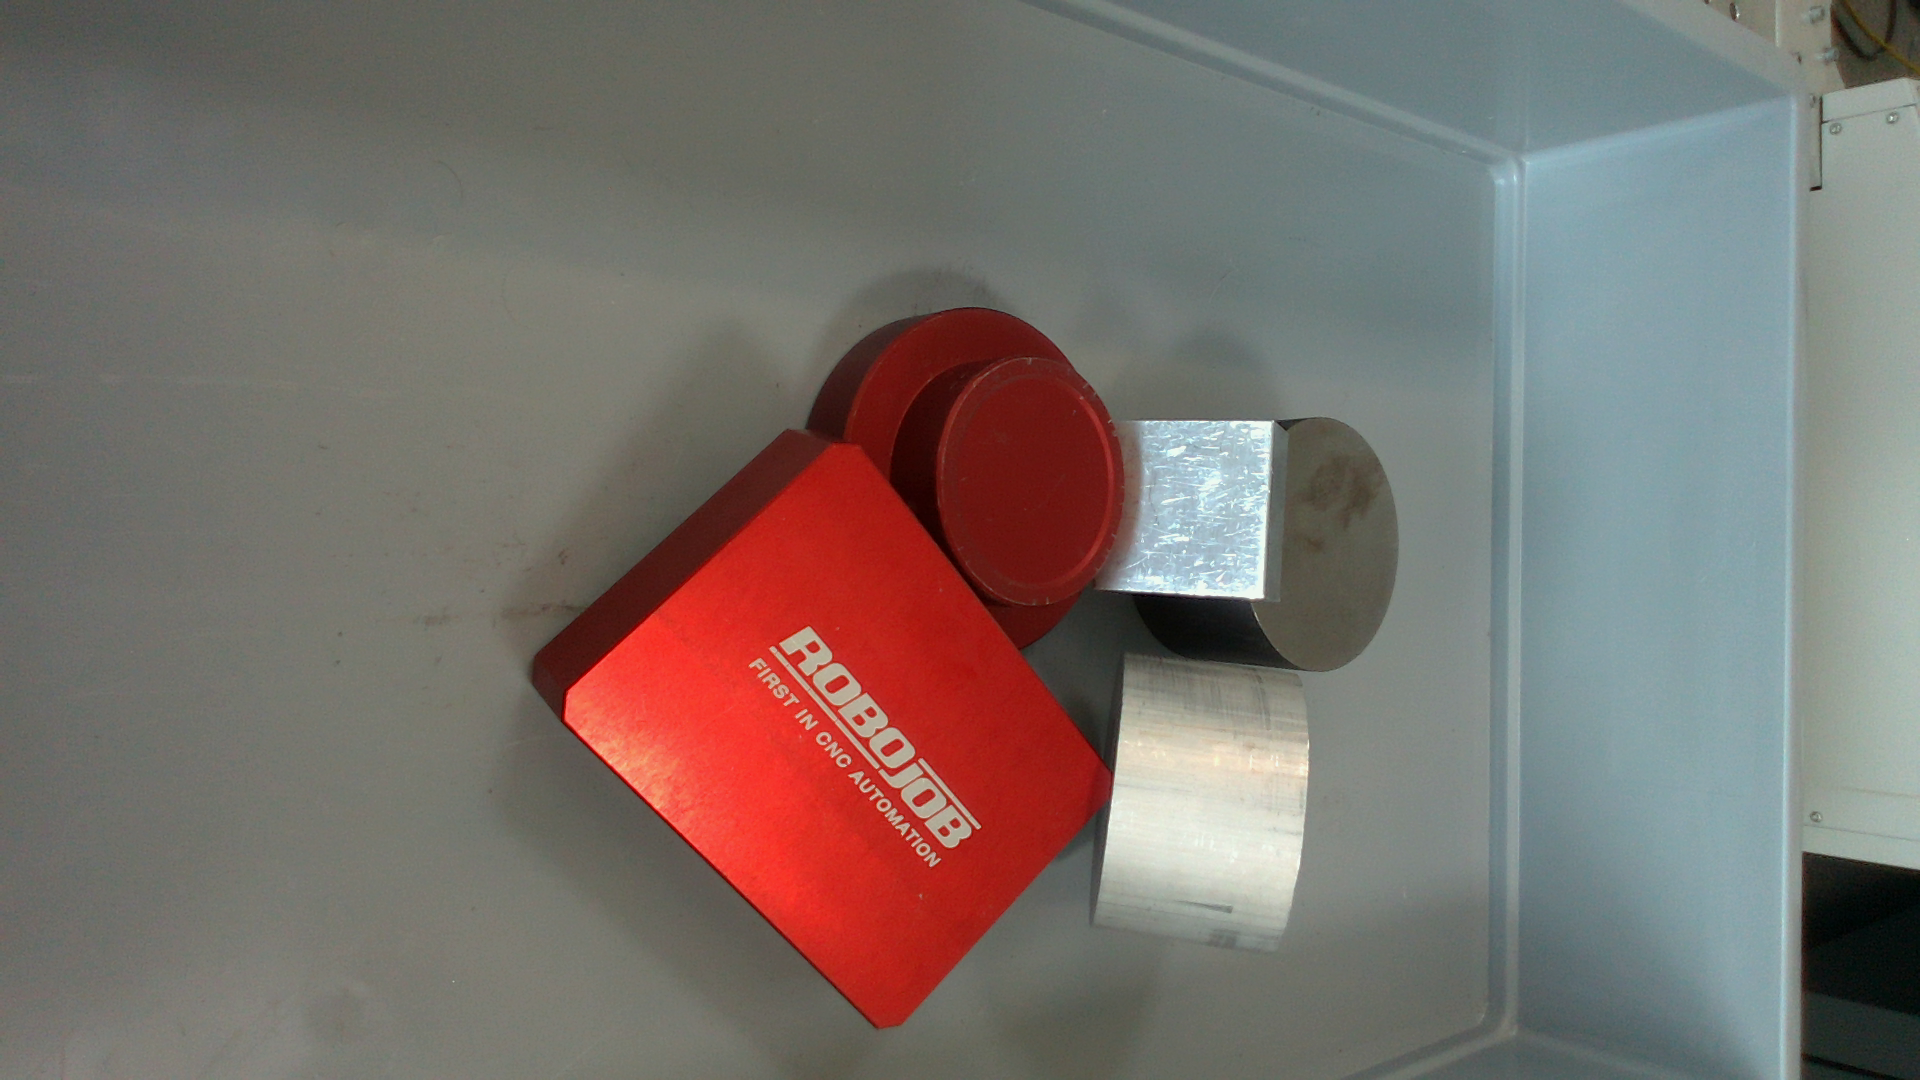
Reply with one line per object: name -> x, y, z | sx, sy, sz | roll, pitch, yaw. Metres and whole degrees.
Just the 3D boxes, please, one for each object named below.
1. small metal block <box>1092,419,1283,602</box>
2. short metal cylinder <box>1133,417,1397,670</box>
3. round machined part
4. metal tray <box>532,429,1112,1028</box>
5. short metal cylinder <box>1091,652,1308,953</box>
small metal block -> 0.068, -0.009, 0.404 | 0.025, 0.050, 0.050 | 13, 80, -67
short metal cylinder -> 0.100, 0.001, 0.454 | 0.080, 0.050, 0.080 | 0, 90, -40
round machined part -> 0.008, -0.016, 0.382 | 0.098, 0.042, 0.098 | 0, 90, -40
metal tray -> -0.029, 0.048, 0.345 | 0.090, 0.030, 0.130 | -44, 118, -14
short metal cylinder -> 0.067, 0.075, 0.400 | 0.050, 0.080, 0.080 | 7, 84, 4
